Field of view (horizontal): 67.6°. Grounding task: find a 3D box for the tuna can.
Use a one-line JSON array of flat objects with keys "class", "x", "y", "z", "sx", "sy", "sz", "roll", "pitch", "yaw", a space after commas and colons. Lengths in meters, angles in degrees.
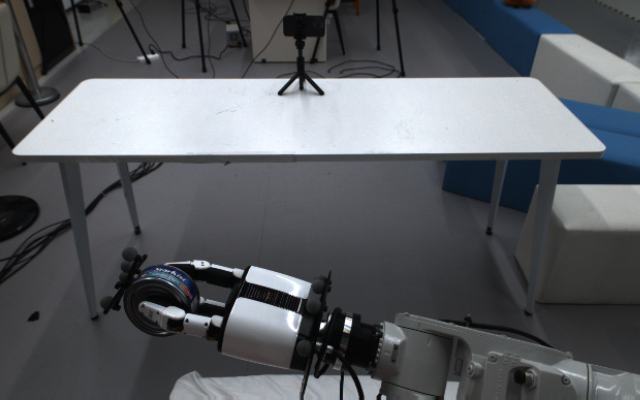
[{"class": "tuna can", "x": -0.191, "y": 0.129, "z": 0.592, "sx": 0.085, "sy": 0.085, "sz": 0.034, "roll": 4, "pitch": 22, "yaw": 3}]
